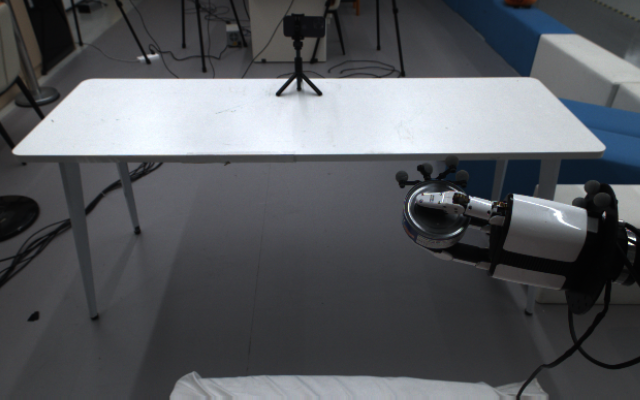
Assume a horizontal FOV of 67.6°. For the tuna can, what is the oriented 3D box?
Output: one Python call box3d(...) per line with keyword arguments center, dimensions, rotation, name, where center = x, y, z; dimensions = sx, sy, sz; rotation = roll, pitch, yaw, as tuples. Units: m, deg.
box3d(center=(0.149, 0.017, 0.621), dimensions=(0.085, 0.034, 0.085), rotation=(-2, 58, 3), name="tuna can")
